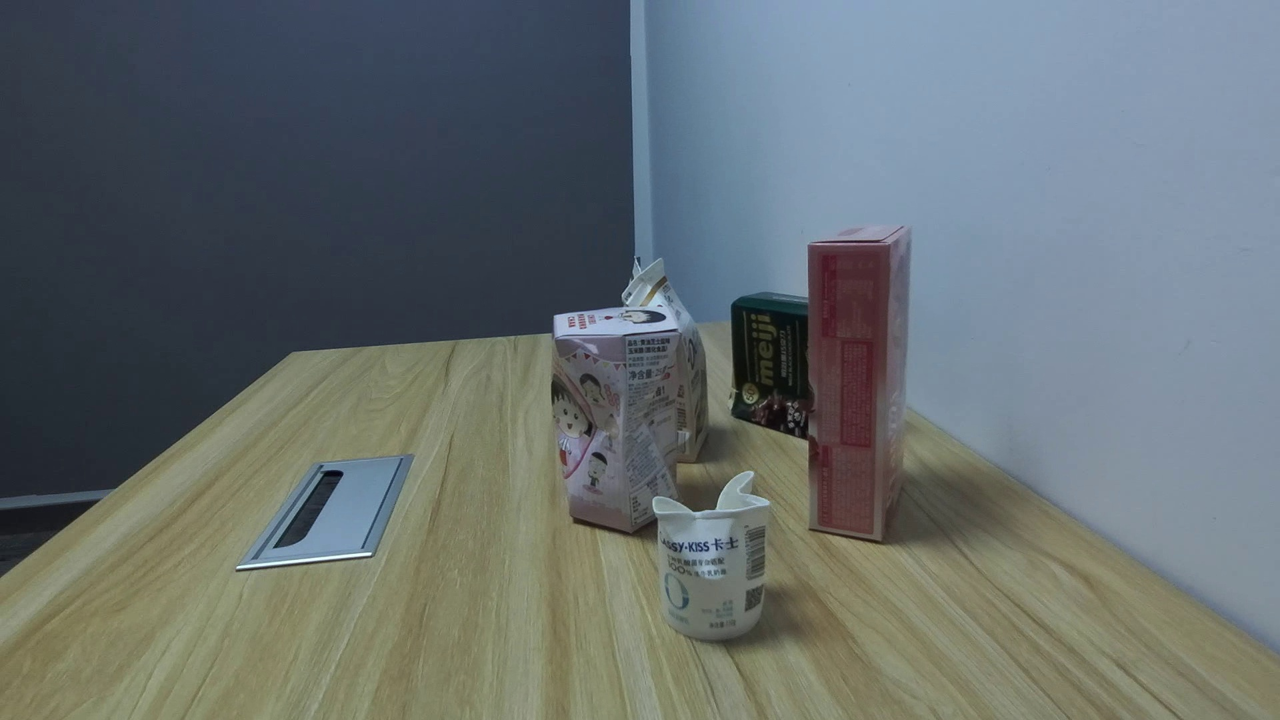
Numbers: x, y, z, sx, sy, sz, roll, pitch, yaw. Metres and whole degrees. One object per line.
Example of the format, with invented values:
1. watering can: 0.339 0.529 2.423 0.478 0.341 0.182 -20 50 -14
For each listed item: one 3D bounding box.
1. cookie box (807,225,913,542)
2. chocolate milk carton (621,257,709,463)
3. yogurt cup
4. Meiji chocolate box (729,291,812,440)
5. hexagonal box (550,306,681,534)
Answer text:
1. cookie box: 0.142 0.011 0.454 0.048 0.184 0.096 4 17 26
2. chocolate milk carton: 0.013 -0.004 0.573 0.073 0.155 0.076 1 19 16
3. yogurt cup: 0.036 0.099 0.364 0.055 0.072 0.055 -3 23 3
4. Meiji chocolate box: 0.138 0.003 0.622 0.122 0.116 0.059 16 27 42
5. hexagonal box: -0.014 0.036 0.483 0.094 0.134 0.088 -17 22 -40
